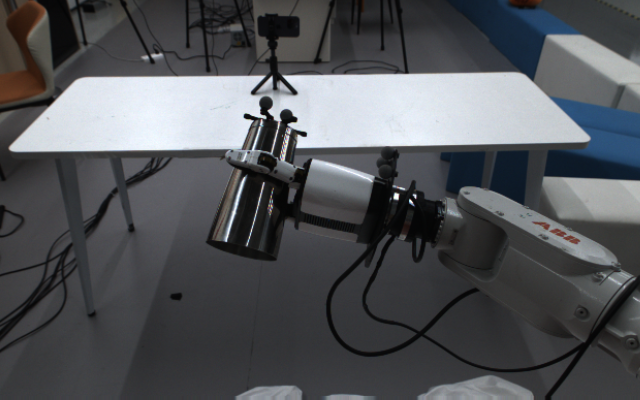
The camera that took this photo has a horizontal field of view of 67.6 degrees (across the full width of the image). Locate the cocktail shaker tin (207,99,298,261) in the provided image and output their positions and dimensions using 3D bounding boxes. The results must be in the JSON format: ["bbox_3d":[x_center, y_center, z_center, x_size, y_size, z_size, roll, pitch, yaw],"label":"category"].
[{"bbox_3d":[-0.081,-0.014,0.631,0.093,0.093,0.170,10,73,12],"label":"cocktail shaker tin"}]
